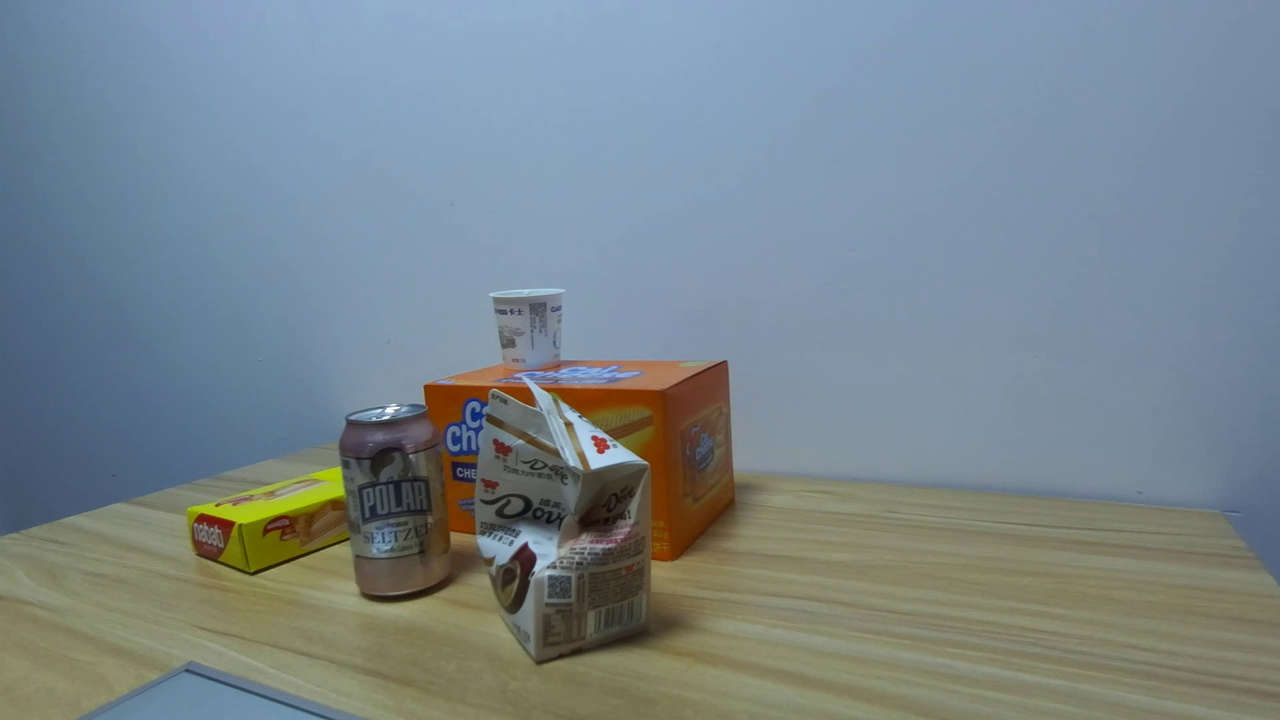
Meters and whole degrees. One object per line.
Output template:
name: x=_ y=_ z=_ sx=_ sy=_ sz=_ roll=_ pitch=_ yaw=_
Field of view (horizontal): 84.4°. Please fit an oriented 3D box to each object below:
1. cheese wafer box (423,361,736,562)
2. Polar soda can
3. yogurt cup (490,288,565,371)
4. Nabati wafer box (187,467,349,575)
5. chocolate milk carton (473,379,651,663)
cheese wafer box: x=-0.046 y=0.073 z=0.608 sx=0.221 sy=0.129 sz=0.149 roll=0 pitch=8 yaw=26
Polar soda can: x=-0.170 y=0.097 z=0.494 sx=0.067 sy=0.125 sz=0.067 roll=-4 pitch=7 yaw=1
yogurt cup: x=-0.101 y=-0.028 z=0.655 sx=0.072 sy=0.068 sz=0.072 roll=-2 pitch=10 yaw=1
Nabati wafer box: x=-0.268 y=0.126 z=0.622 sx=0.096 sy=0.042 sz=0.204 roll=0 pitch=7 yaw=37
chocolate milk carton: x=-0.046 y=0.090 z=0.409 sx=0.077 sy=0.155 sz=0.089 roll=-13 pitch=26 yaw=-29
